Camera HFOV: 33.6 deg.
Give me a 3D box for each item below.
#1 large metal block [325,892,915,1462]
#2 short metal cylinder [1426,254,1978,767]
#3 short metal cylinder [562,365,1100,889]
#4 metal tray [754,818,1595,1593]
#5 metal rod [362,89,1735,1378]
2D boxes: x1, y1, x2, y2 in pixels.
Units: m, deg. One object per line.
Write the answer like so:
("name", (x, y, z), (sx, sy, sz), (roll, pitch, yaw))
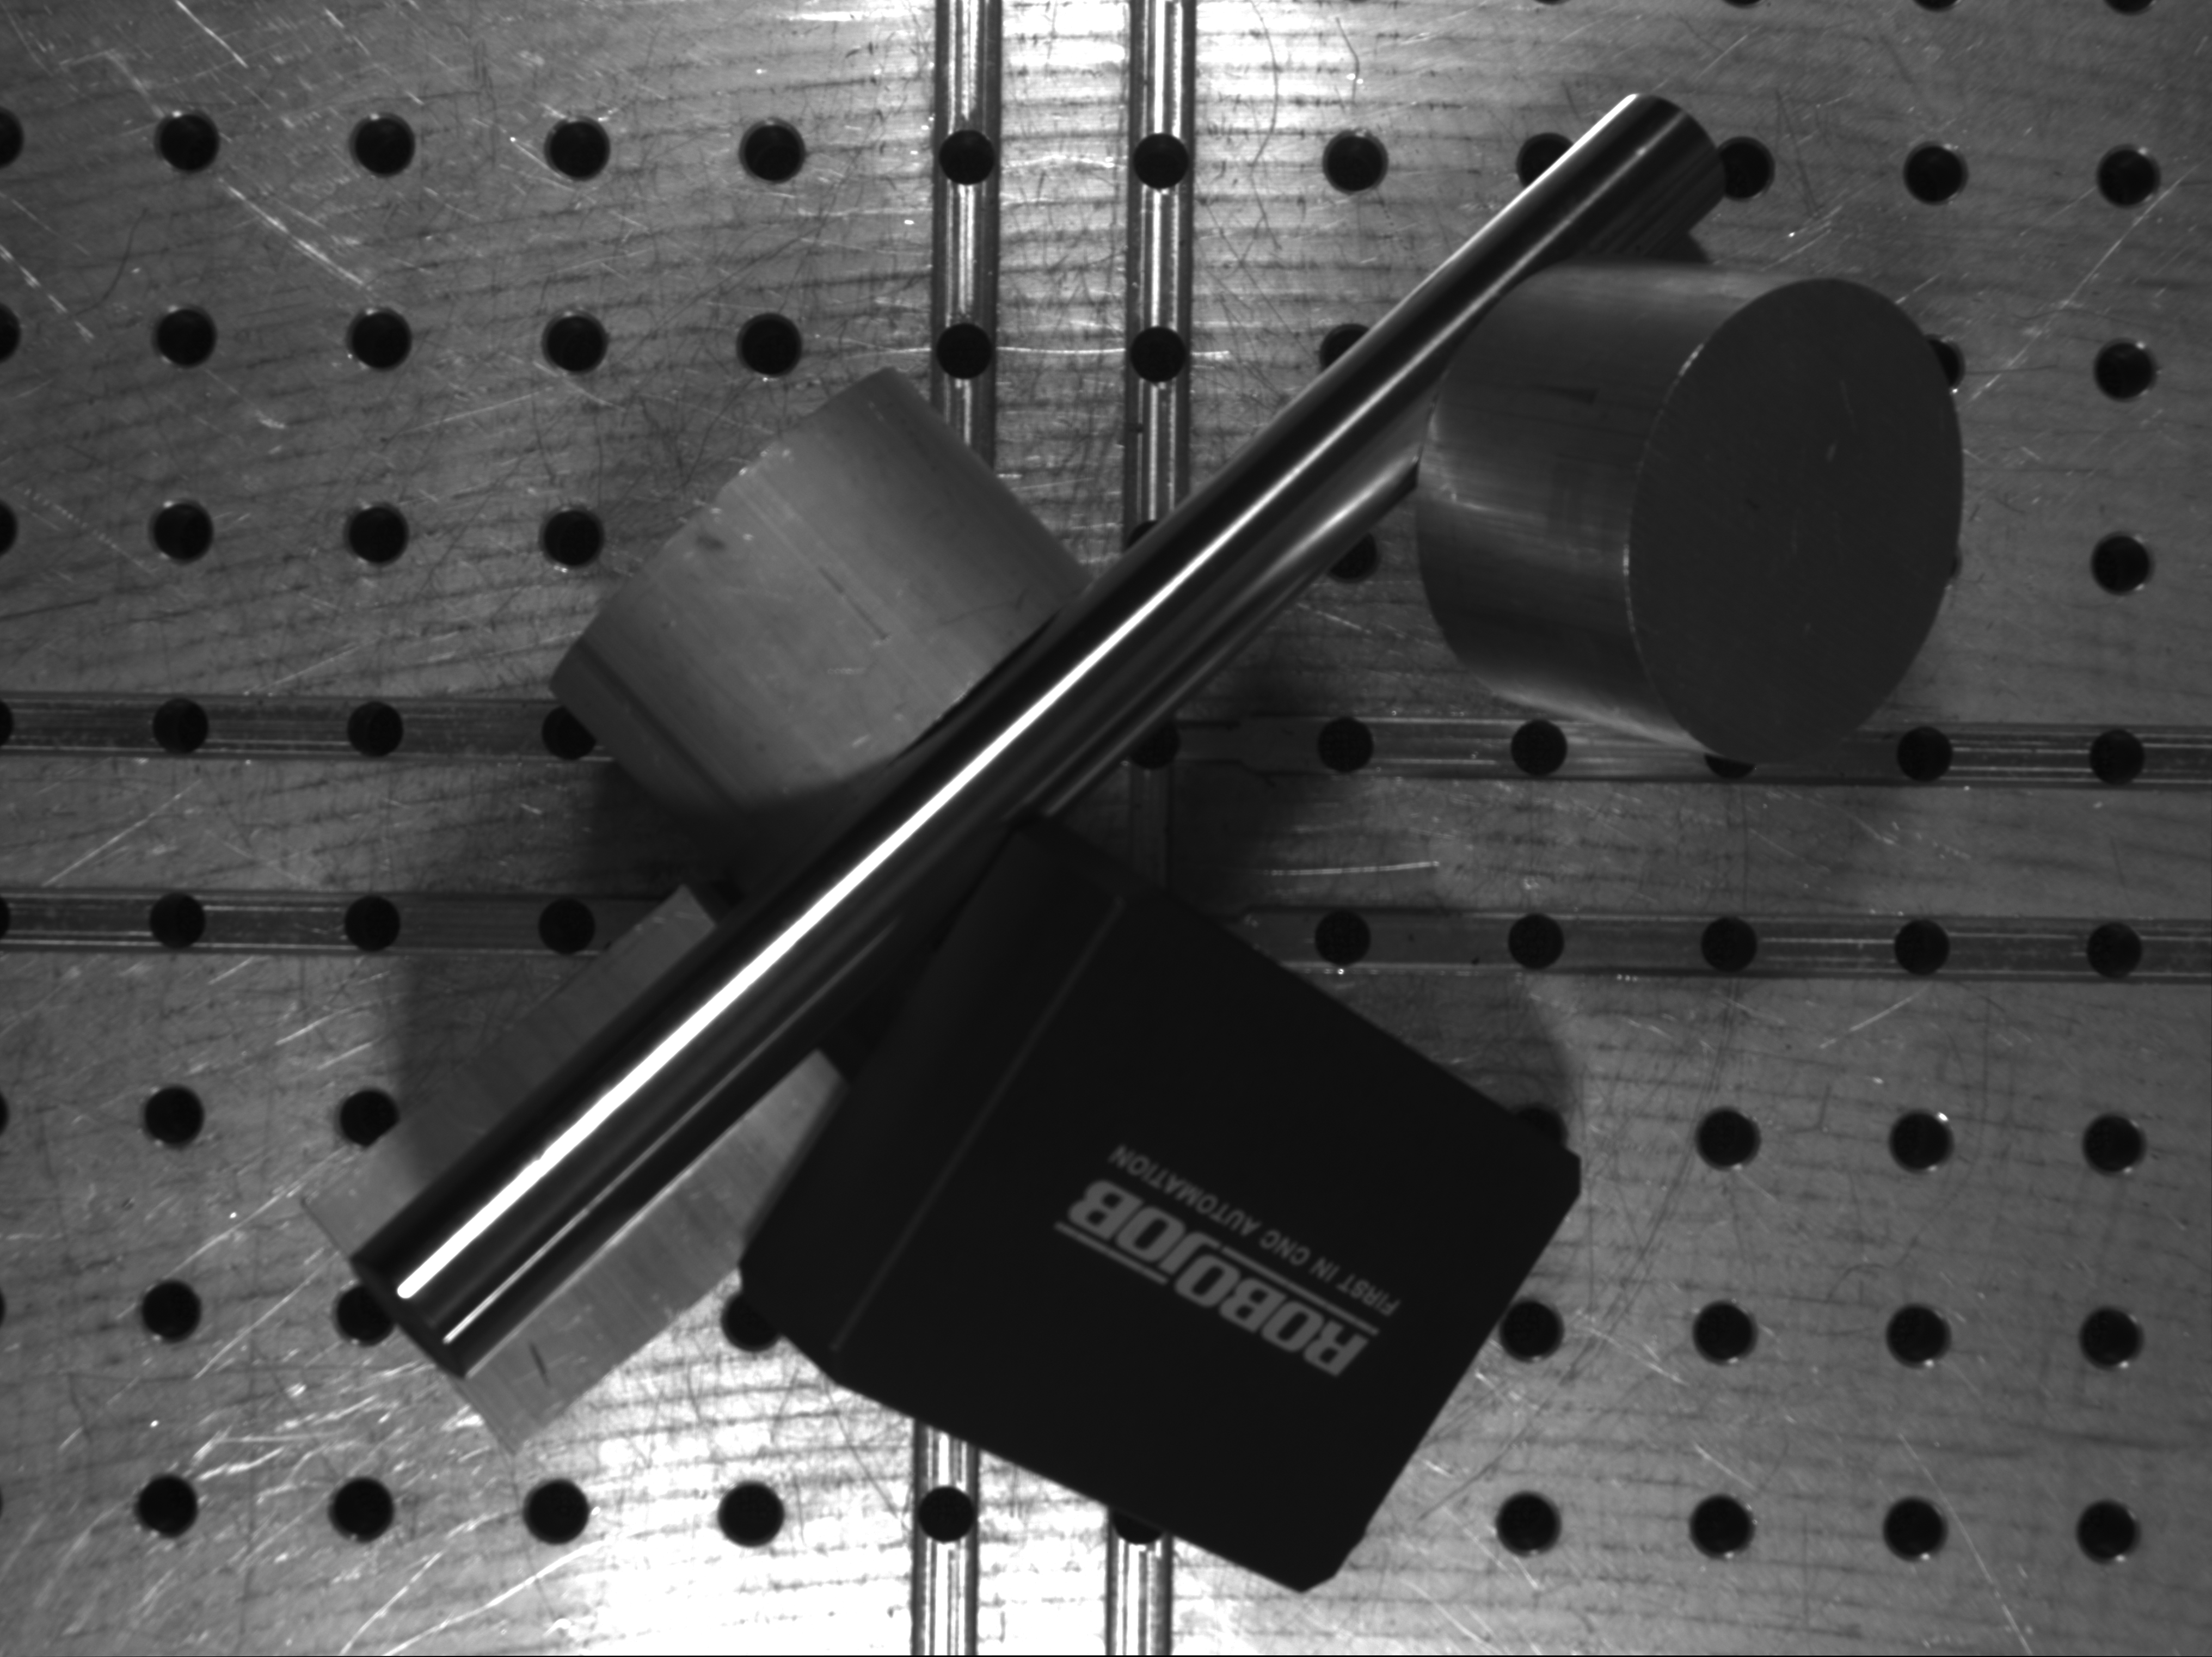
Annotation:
("large metal block", (-0.077, 0.055, 0.619), (0.080, 0.080, 0.050), (-40, 90, 0))
("short metal cylinder", (0.101, -0.054, 0.616), (0.080, 0.050, 0.080), (-11, 109, -35))
("short metal cylinder", (-0.045, -0.032, 0.619), (0.080, 0.080, 0.050), (-43, 90, 0))
("metal tray", (0.015, 0.065, 0.605), (0.130, 0.030, 0.090), (33, 89, -42))
("metal rod", (0.000, -0.024, 0.594), (0.025, 0.025, 0.300), (47, 68, 0))
